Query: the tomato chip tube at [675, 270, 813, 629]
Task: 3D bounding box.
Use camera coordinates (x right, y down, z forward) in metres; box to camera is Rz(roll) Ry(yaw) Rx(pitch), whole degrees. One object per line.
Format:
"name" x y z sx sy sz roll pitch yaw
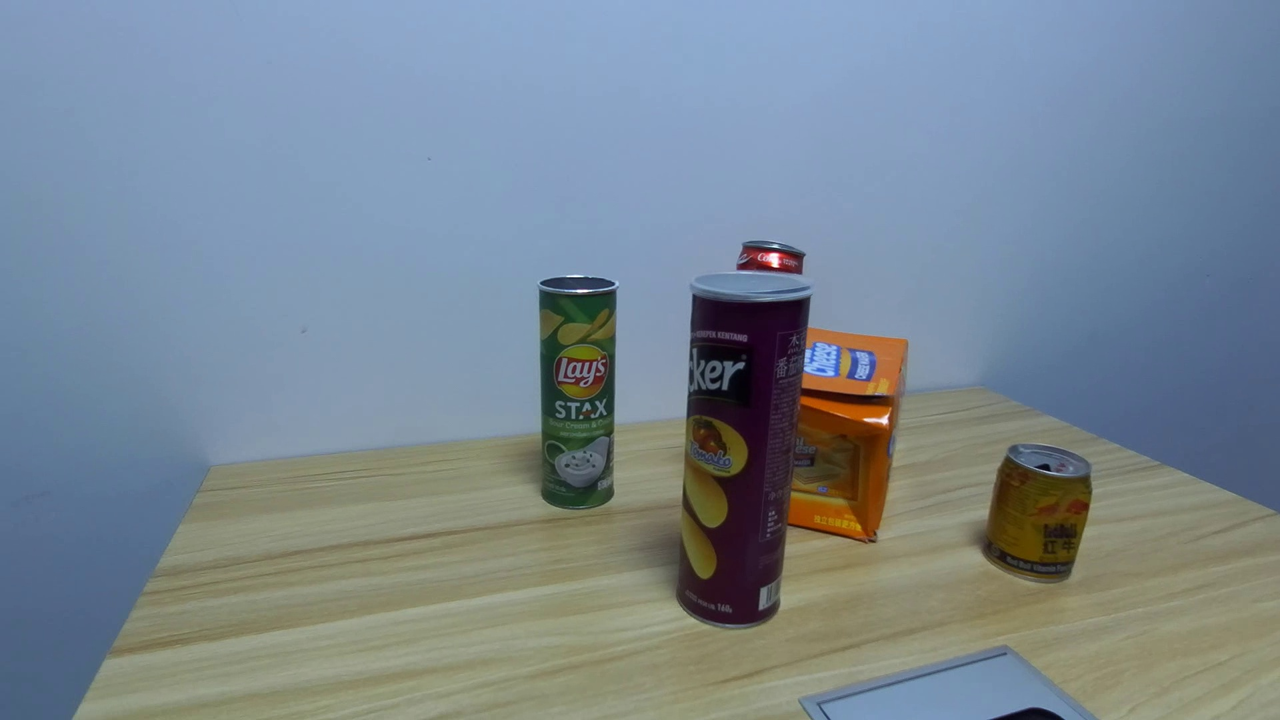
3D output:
"tomato chip tube" 0.068 0.062 0.482 0.078 0.234 0.078 1 18 0

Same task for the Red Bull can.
"Red Bull can" 0.319 0.122 0.568 0.069 0.092 0.069 3 16 0

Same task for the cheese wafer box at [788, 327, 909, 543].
"cheese wafer box" 0.174 0.056 0.689 0.149 0.137 0.227 9 18 21

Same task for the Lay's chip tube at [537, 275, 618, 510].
"Lay's chip tube" -0.055 0.029 0.640 0.071 0.202 0.071 1 18 0
